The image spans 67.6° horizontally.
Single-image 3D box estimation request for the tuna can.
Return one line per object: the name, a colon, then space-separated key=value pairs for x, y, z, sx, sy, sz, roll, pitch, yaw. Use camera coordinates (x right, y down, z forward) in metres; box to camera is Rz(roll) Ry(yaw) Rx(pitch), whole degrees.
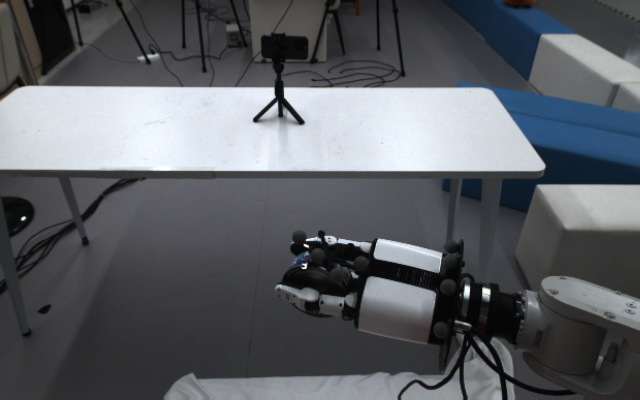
tuna can: x=0.001 y=0.105 z=0.611 sx=0.085 sy=0.085 sz=0.034 roll=12 pitch=33 yaw=14
